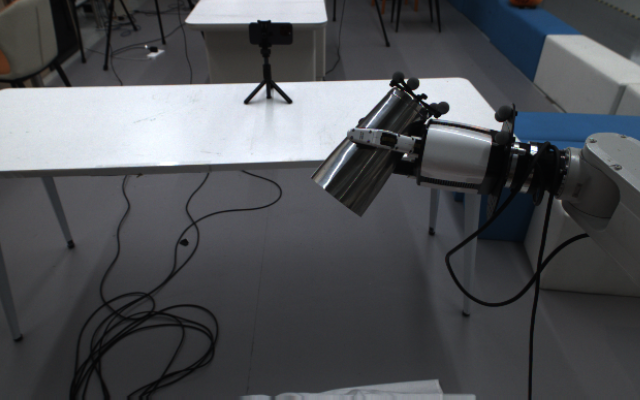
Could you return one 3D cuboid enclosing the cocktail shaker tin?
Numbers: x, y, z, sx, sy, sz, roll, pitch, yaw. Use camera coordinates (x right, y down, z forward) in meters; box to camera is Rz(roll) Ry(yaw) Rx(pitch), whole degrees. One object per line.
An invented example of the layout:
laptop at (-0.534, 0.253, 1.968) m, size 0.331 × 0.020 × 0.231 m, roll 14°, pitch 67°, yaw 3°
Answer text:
cocktail shaker tin at (0.076, -0.074, 0.682) m, size 0.170 × 0.093 × 0.093 m, roll -50°, pitch 46°, yaw 4°
